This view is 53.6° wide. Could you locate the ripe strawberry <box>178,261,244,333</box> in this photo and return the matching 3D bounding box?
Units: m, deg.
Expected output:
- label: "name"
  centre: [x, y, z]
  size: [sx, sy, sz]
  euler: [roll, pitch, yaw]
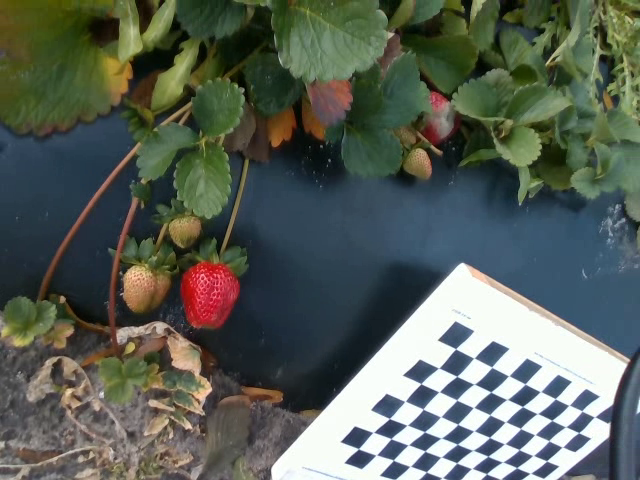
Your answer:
- label: "ripe strawberry"
  centre: [-0.090, 0.049, 0.507]
  size: [0.067, 0.074, 0.052]
  euler: [9, 31, -19]
